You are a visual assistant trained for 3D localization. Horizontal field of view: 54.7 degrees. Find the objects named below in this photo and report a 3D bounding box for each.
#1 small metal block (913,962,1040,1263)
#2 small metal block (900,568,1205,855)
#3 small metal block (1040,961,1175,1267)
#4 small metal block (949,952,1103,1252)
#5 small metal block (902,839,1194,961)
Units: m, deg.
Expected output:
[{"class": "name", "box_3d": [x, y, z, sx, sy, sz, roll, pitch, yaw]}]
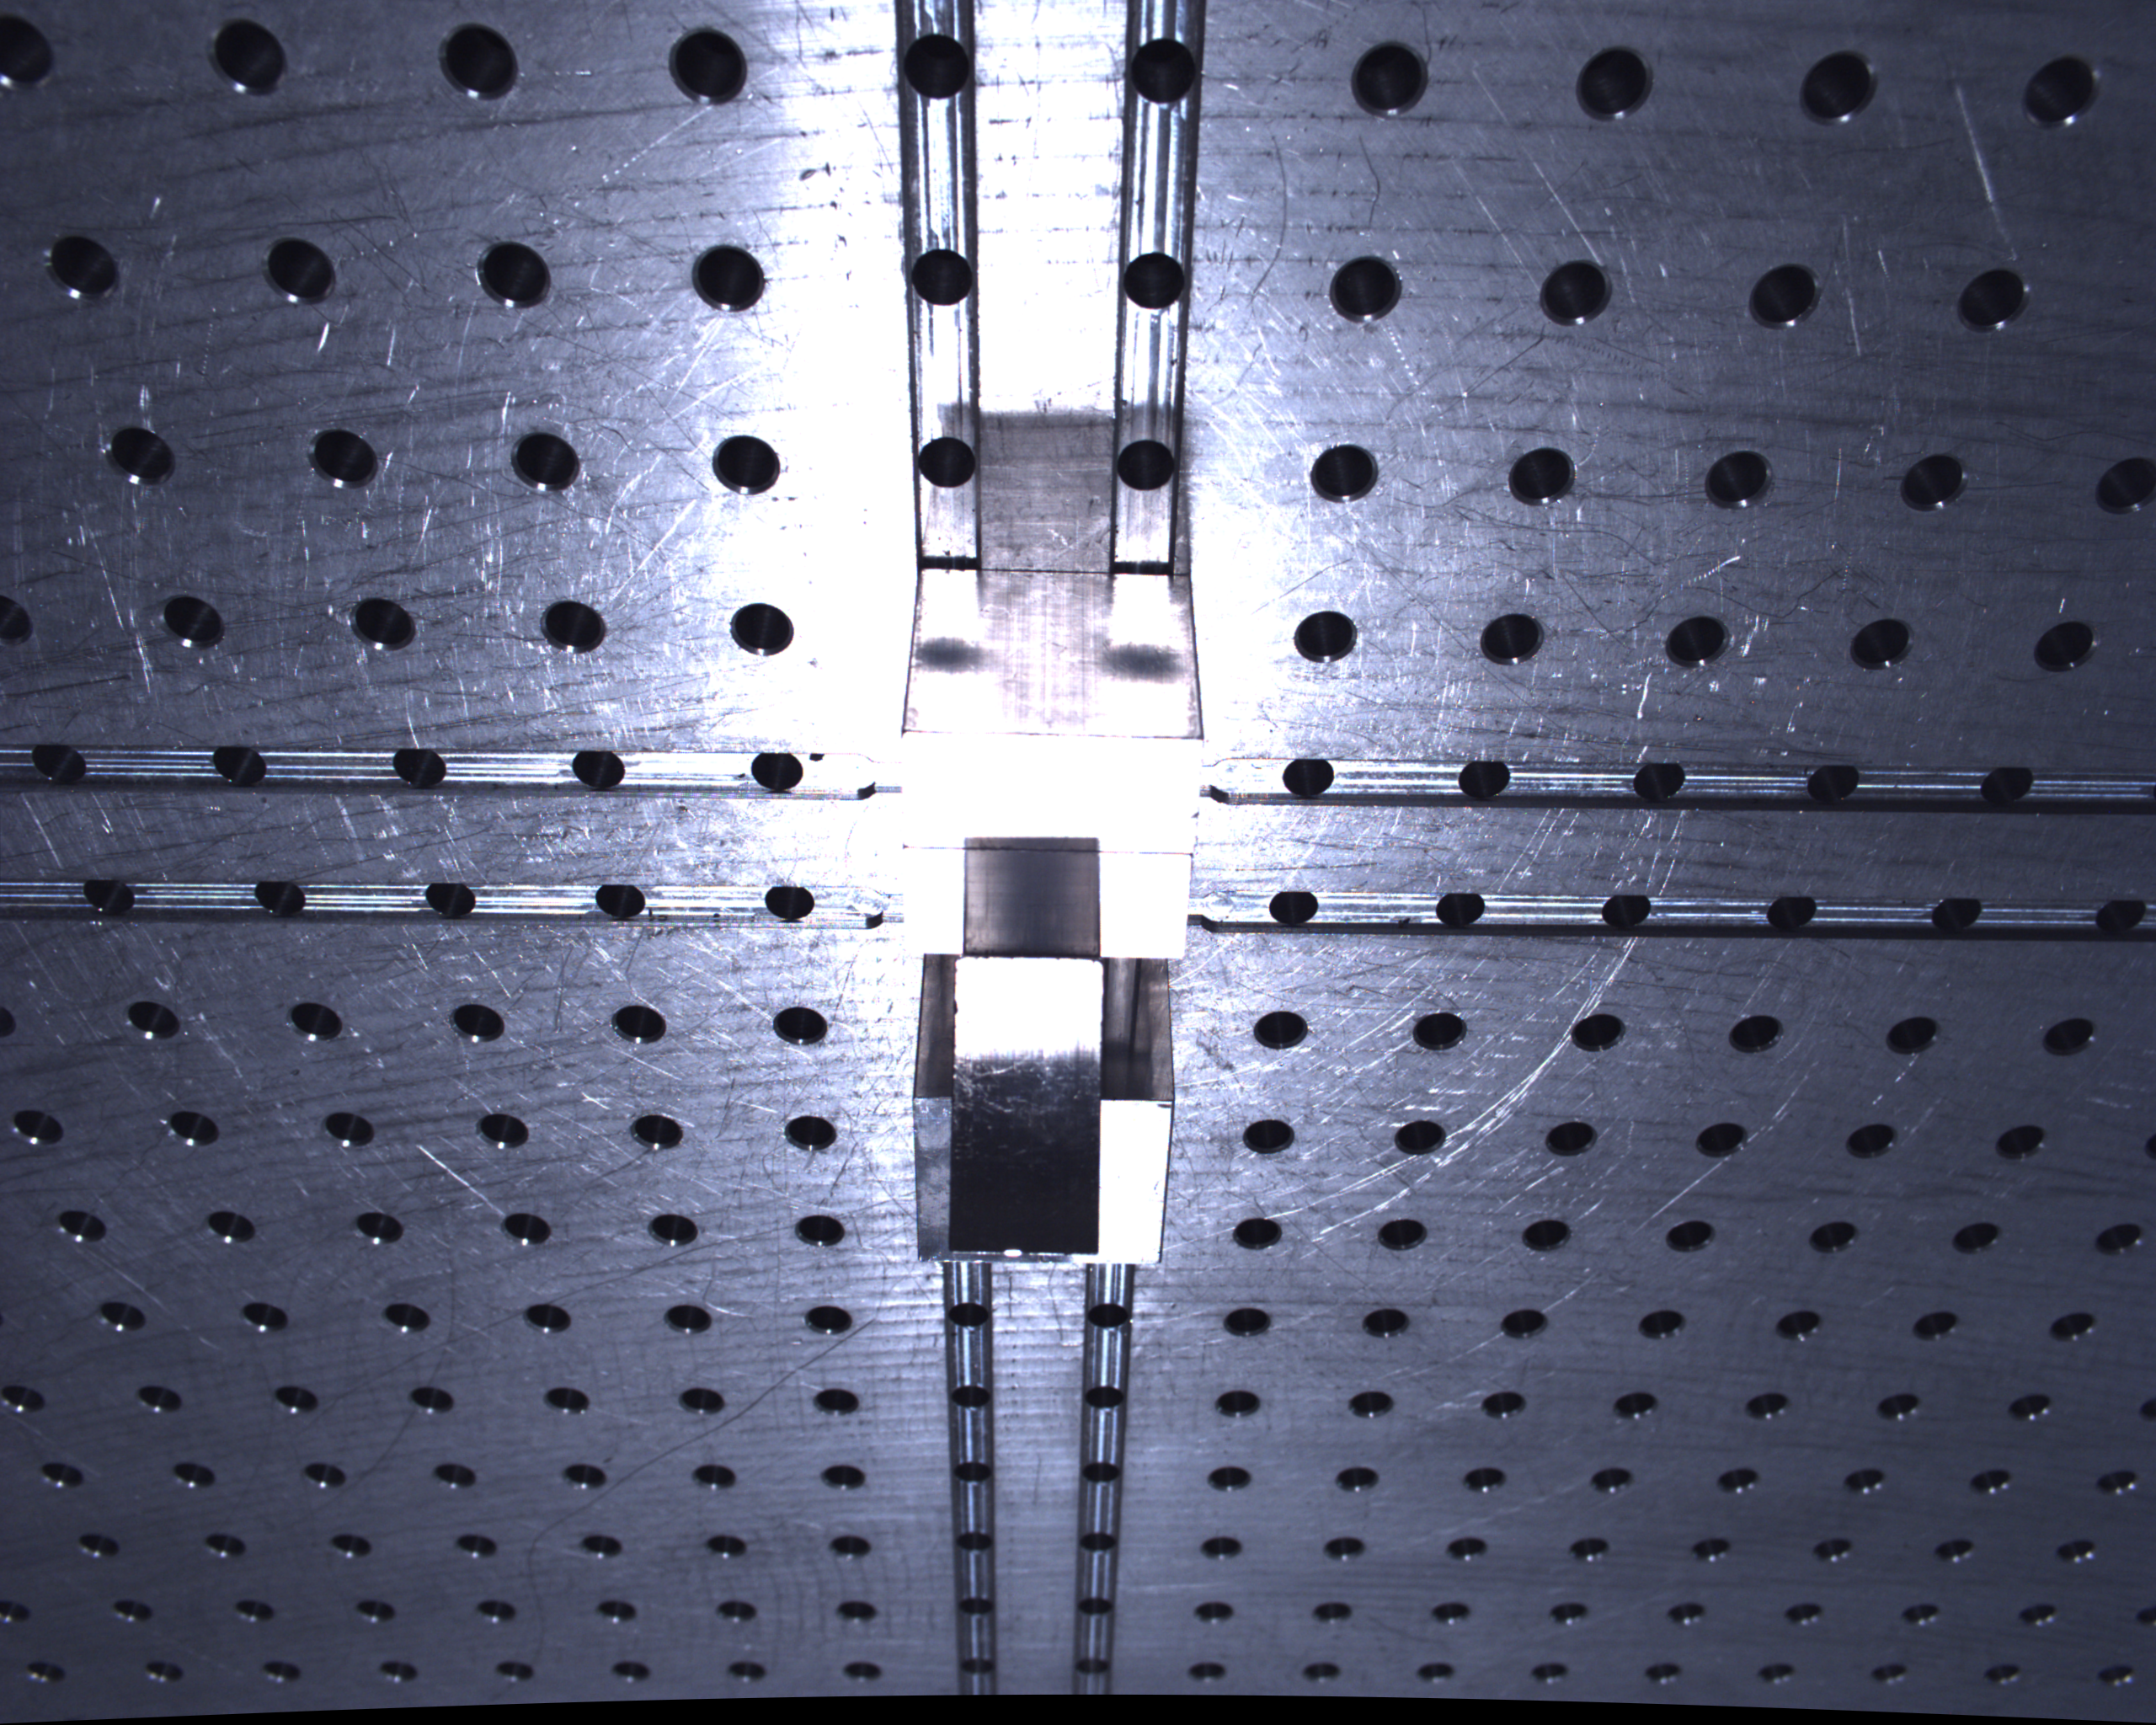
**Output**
[{"class": "small metal block", "box_3d": [-0.020, 0.048, 0.436, 0.025, 0.050, 0.050, 1, 130, -1]}, {"class": "small metal block", "box_3d": [-0.005, -0.028, 0.371, 0.050, 0.050, 0.025, 2, 130, -2]}, {"class": "small metal block", "box_3d": [0.005, 0.049, 0.435, 0.025, 0.050, 0.050, 1, 130, -1]}, {"class": "small metal block", "box_3d": [-0.009, 0.041, 0.376, 0.025, 0.050, 0.050, 1, 88, 0]}, {"class": "small metal block", "box_3d": [-0.006, -0.008, 0.387, 0.050, 0.050, 0.025, 2, 130, -2]}]
